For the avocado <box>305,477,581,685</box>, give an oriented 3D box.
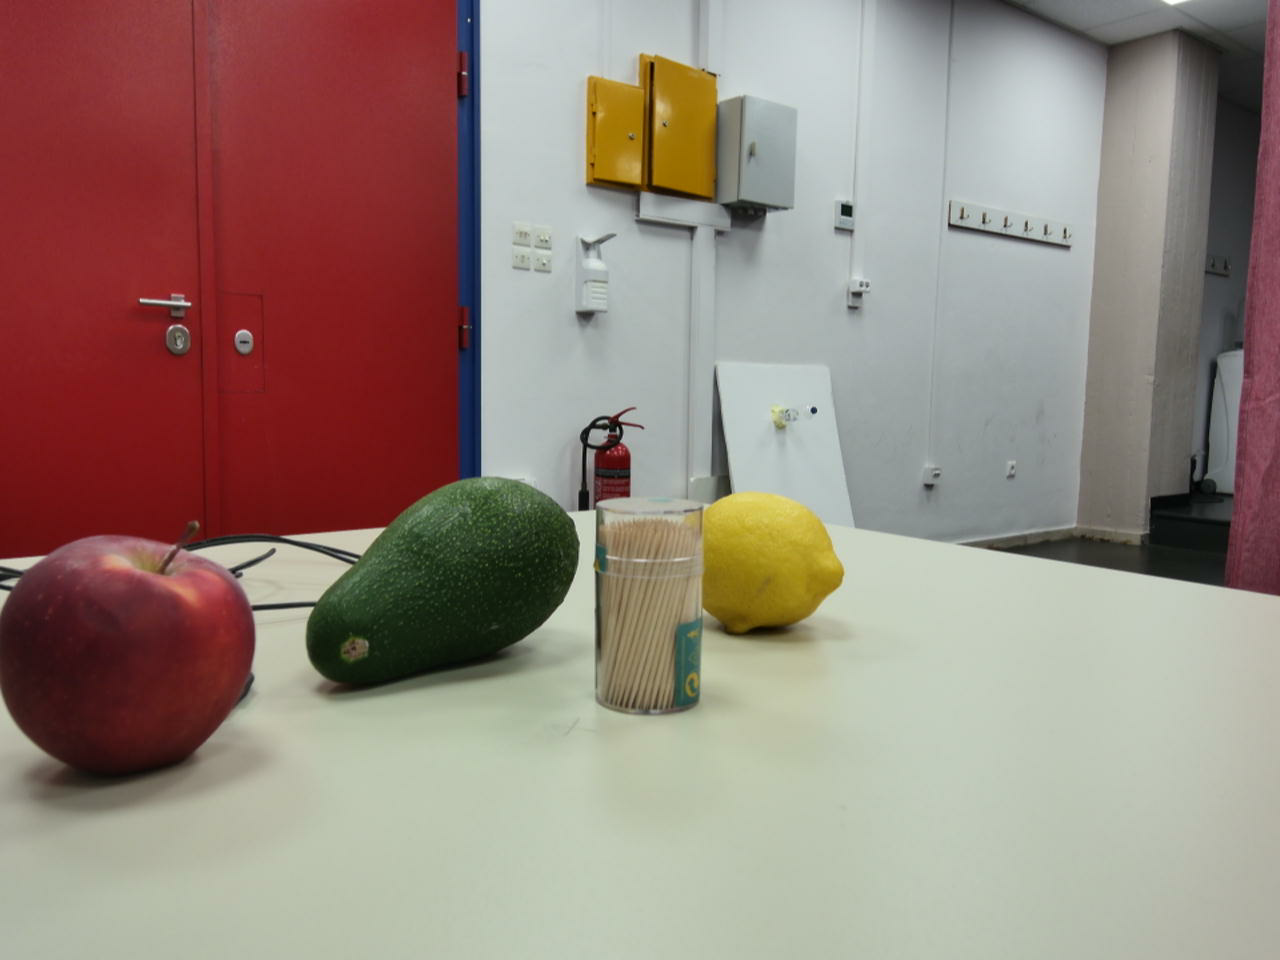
[{"bbox_3d":[-0.082,0.037,0.417,0.123,0.076,0.074,-2,4,-33],"label":"avocado"}]
